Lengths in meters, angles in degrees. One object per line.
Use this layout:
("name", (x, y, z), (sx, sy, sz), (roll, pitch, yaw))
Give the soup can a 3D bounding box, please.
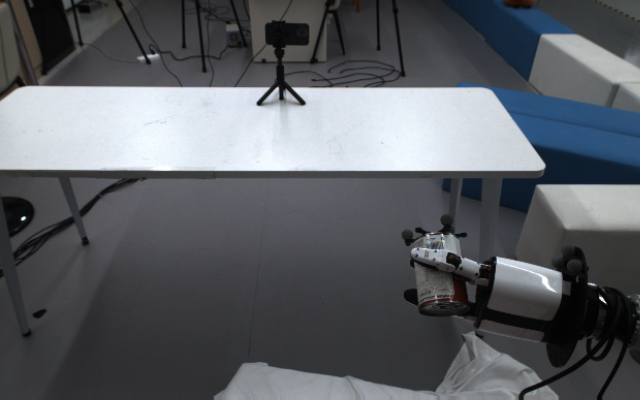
("soup can", (0.169, 0.103, 0.674), (0.067, 0.067, 0.101), (0, 62, -2))
